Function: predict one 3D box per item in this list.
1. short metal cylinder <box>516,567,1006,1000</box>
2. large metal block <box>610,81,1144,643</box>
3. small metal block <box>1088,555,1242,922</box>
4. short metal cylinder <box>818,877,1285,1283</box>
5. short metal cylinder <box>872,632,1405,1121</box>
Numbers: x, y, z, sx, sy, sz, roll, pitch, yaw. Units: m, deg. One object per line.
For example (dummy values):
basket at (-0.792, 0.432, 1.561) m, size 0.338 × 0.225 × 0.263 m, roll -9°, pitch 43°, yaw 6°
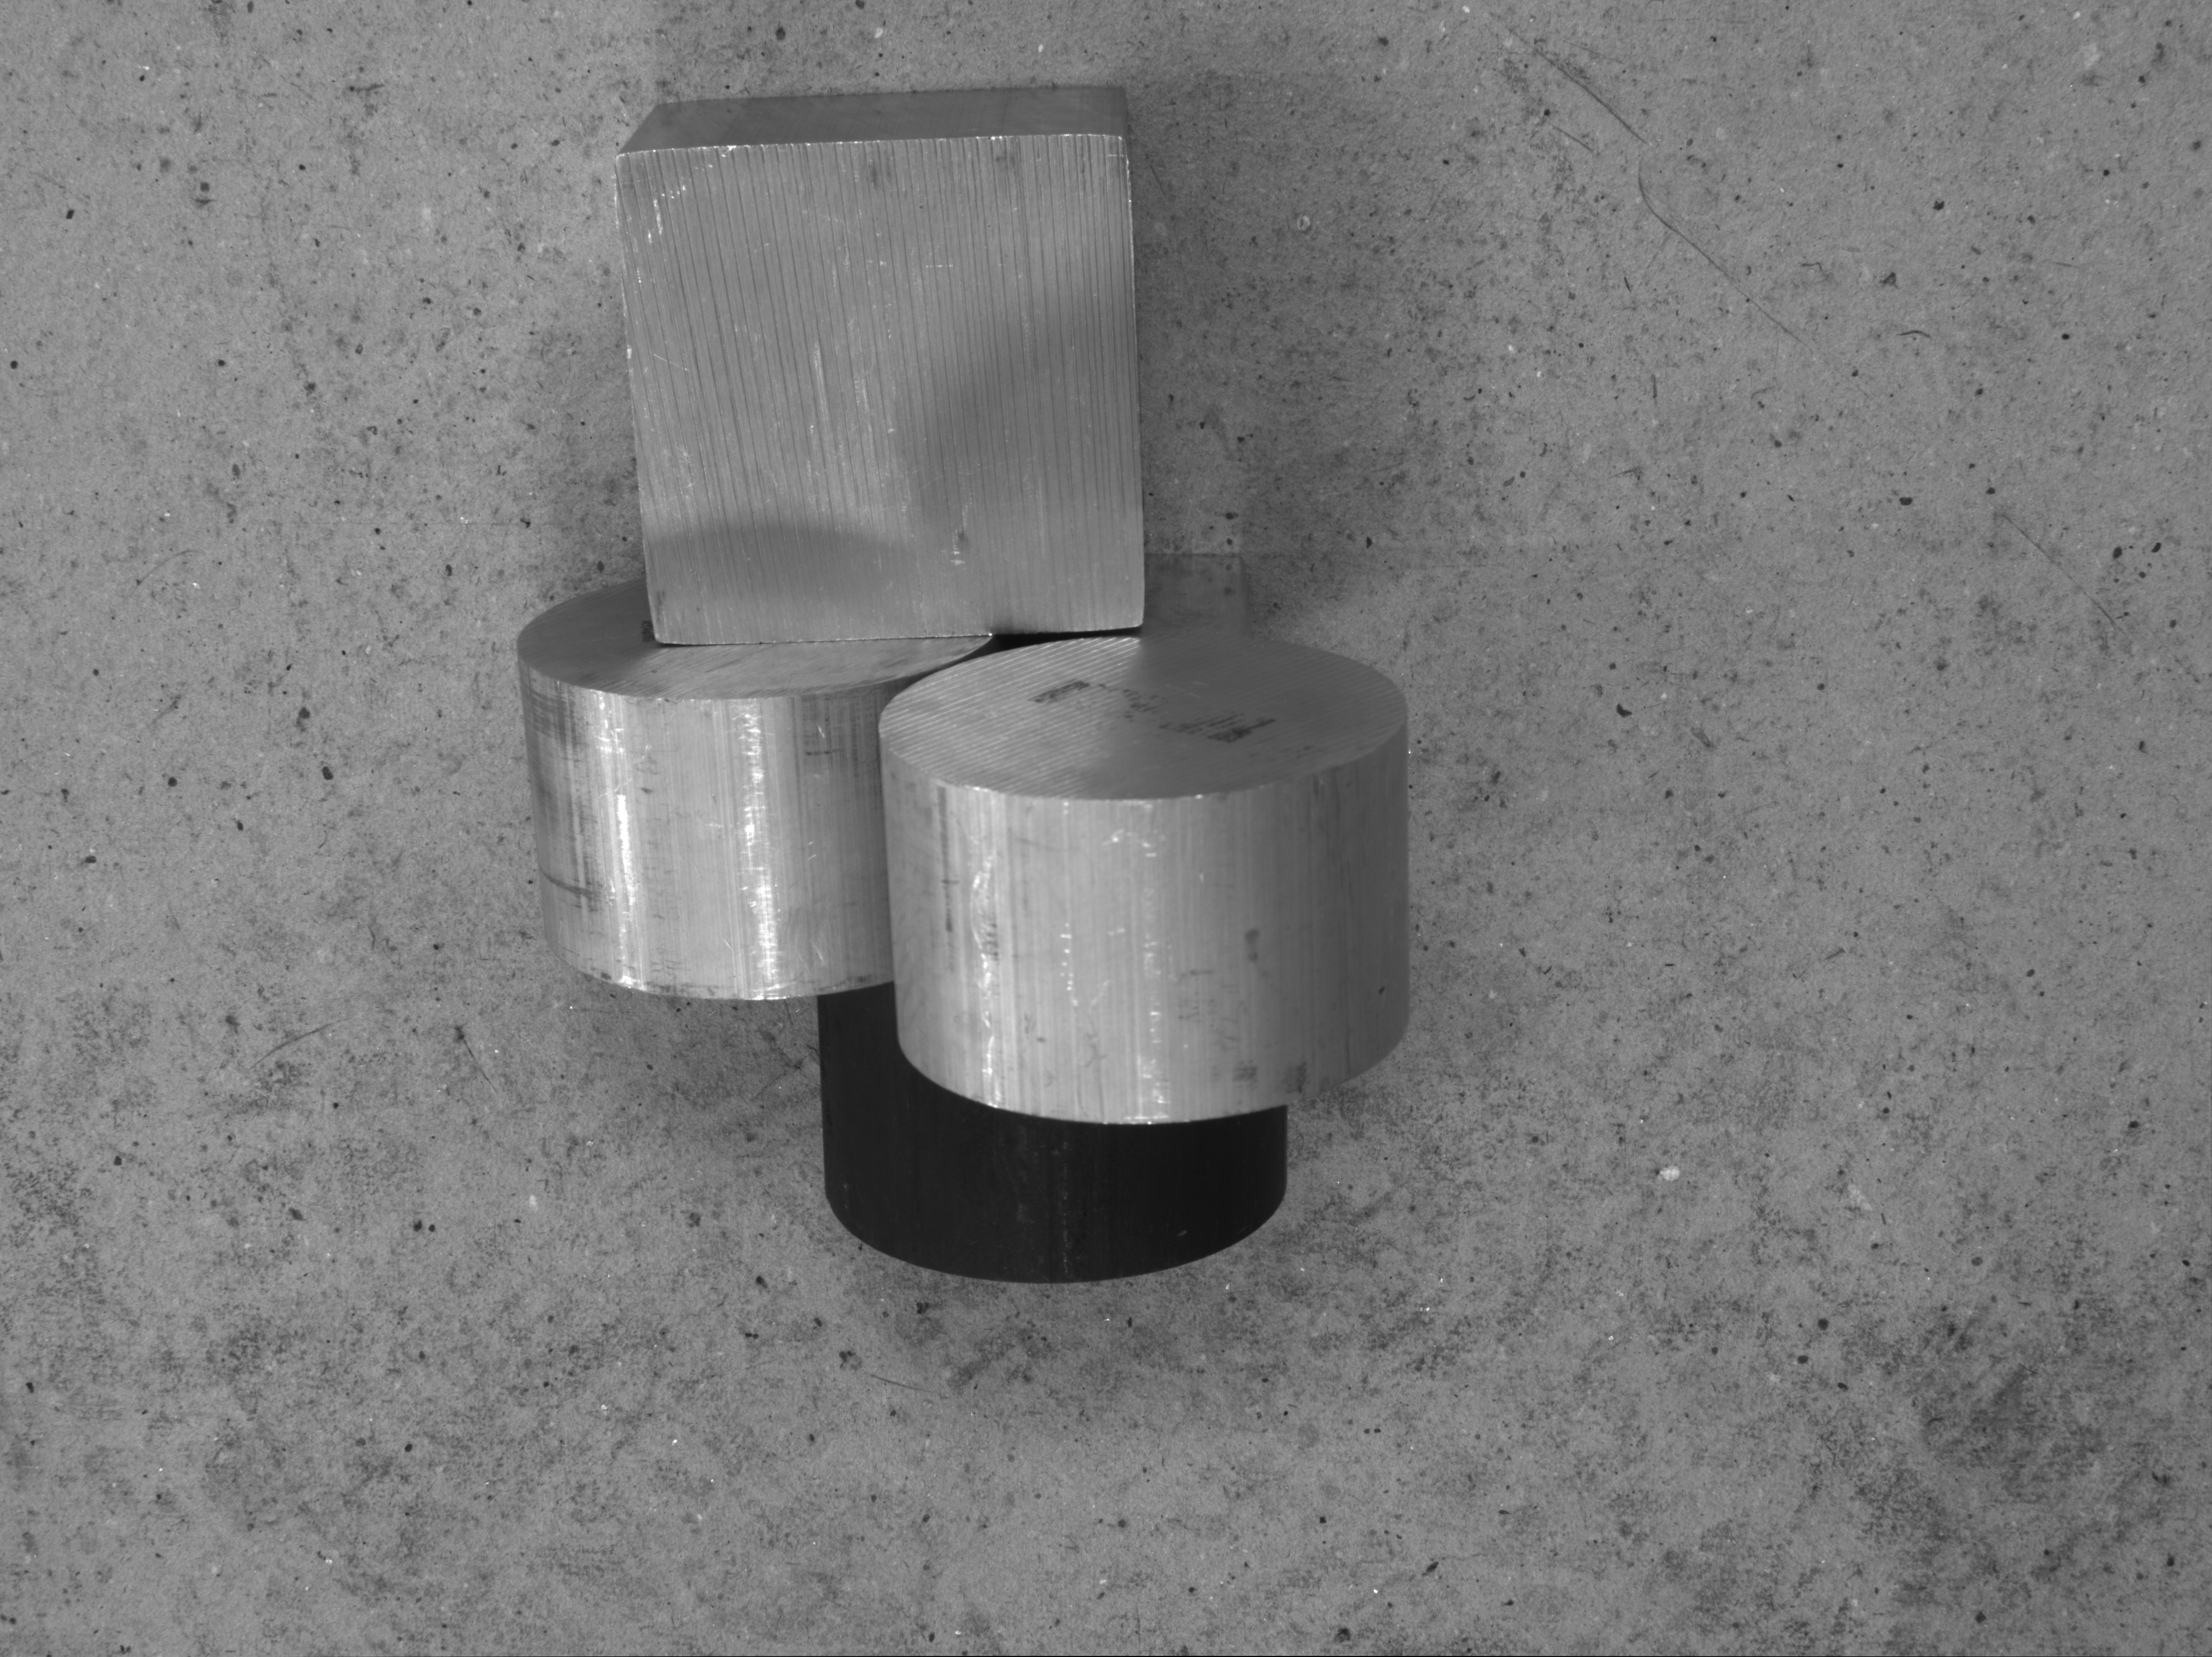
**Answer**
short metal cylinder at (-0.056, -0.010, 0.612) m, size 0.080 × 0.080 × 0.050 m, roll -2°, pitch 110°, yaw 1°
large metal block at (-0.035, -0.077, 0.604) m, size 0.080 × 0.050 × 0.080 m, roll -2°, pitch 110°, yaw 1°
small metal block at (0.010, -0.016, 0.627) m, size 0.025 × 0.050 × 0.050 m, roll 1°, pitch 110°, yaw 0°
short metal cylinder at (-0.009, 0.037, 0.629) m, size 0.080 × 0.080 × 0.050 m, roll 0°, pitch 110°, yaw 0°
short metal cylinder at (0.006, 0.005, 0.564) m, size 0.080 × 0.080 × 0.050 m, roll -2°, pitch 110°, yaw 1°
